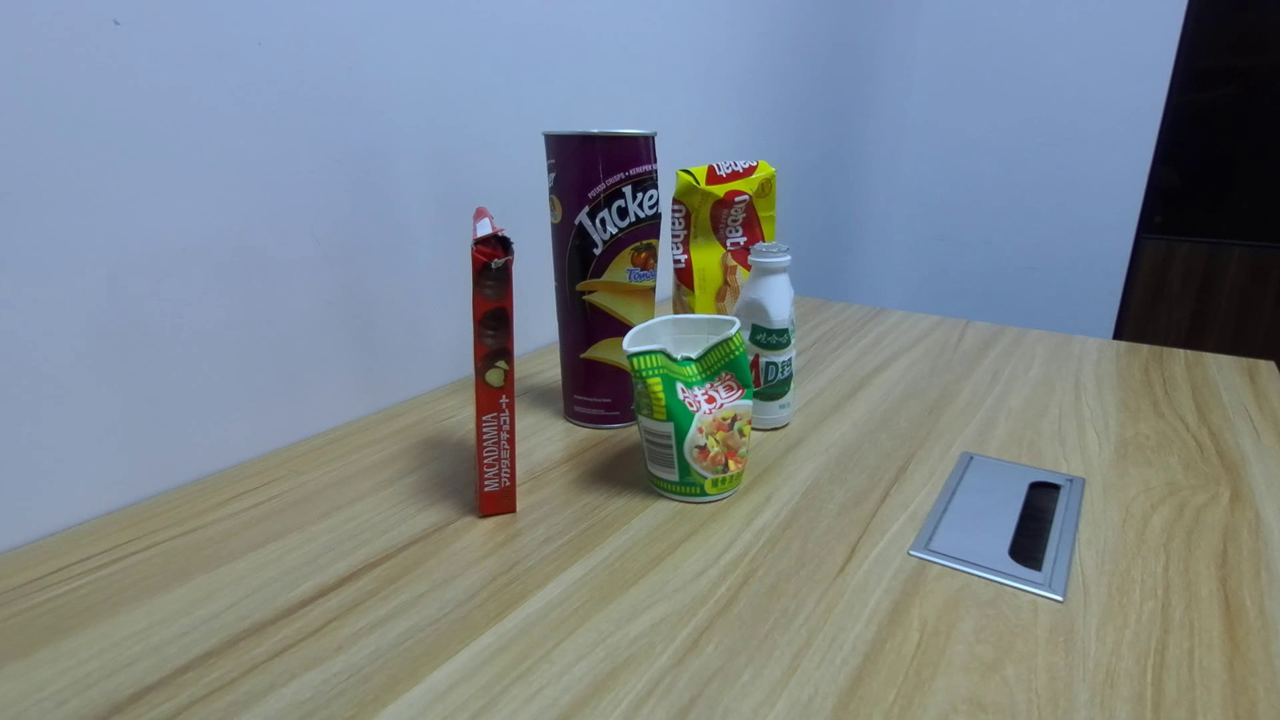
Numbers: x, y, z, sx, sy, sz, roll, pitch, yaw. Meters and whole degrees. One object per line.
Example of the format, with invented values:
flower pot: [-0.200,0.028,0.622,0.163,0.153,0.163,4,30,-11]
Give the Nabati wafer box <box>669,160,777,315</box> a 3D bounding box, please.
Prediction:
Nabati wafer box: [0.078,-0.085,0.681,0.107,0.204,0.042,-11,23,-31]

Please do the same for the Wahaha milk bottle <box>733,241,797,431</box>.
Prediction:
Wahaha milk bottle: [0.101,-0.019,0.572,0.055,0.149,0.055,0,20,0]

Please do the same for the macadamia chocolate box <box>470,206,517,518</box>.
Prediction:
macadamia chocolate box: [-0.098,-0.002,0.472,0.027,0.187,0.102,-1,19,-13]

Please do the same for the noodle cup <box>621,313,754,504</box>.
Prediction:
noodle cup: [0.038,0.031,0.485,0.083,0.122,0.075,-11,12,0]

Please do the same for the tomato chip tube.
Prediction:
tomato chip tube: [-0.029,-0.065,0.583,0.076,0.235,0.077,-8,19,-21]
